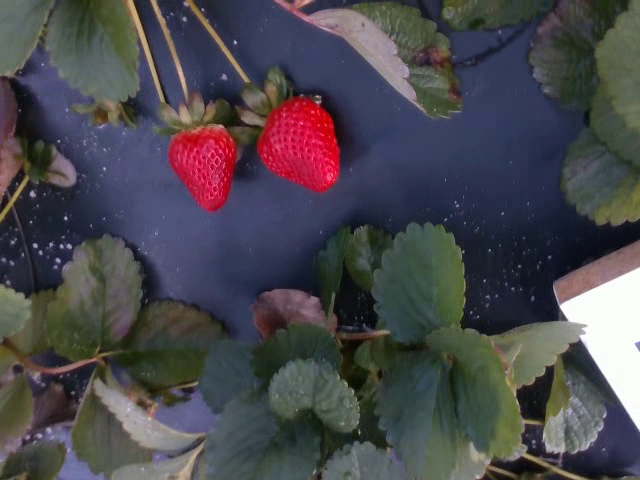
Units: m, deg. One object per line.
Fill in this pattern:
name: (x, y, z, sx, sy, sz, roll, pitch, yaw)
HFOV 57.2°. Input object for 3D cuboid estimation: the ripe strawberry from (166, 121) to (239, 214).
ripe strawberry: (-0.071, -0.044, 0.354, 0.048, 0.056, 0.041, -17, 0, 18)

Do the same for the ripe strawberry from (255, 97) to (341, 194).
ripe strawberry: (-0.013, -0.050, 0.333, 0.064, 0.058, 0.051, 48, 29, 21)
